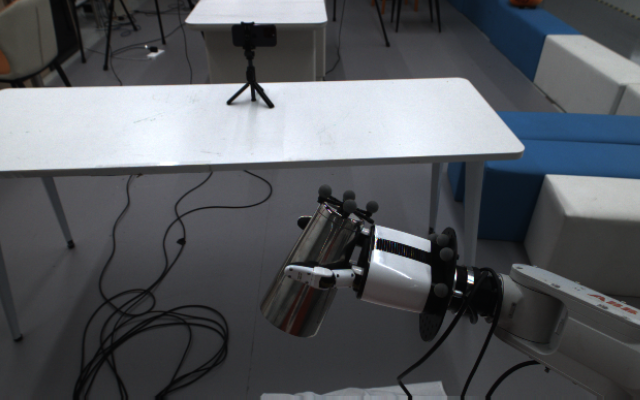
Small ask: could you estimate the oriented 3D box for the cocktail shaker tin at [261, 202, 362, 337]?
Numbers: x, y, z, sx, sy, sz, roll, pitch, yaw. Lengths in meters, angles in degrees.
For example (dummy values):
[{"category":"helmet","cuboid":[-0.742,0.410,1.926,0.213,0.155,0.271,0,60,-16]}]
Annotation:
[{"category":"cocktail shaker tin","cuboid":[-0.004,0.088,0.662,0.093,0.170,0.093,24,12,-6]}]
